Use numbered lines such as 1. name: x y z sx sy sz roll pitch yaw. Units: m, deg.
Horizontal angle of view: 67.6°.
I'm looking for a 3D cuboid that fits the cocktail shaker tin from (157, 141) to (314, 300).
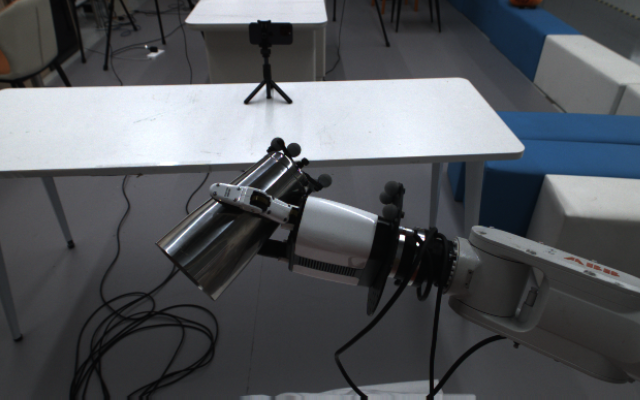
1. cocktail shaker tin: -0.092 0.018 0.559 0.093 0.093 0.170 32 65 35
